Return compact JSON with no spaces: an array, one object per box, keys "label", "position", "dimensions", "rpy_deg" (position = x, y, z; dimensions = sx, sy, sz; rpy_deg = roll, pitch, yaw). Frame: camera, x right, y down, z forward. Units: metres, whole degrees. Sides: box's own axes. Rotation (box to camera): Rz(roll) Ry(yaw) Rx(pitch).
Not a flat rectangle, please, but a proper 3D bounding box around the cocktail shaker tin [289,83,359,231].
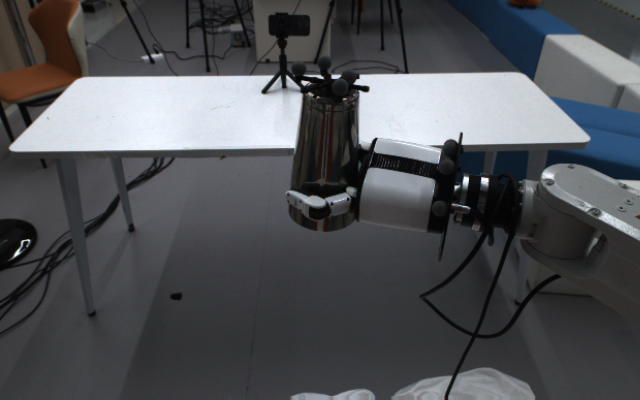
[{"label":"cocktail shaker tin","position":[0.009,-0.056,0.603],"dimensions":[0.093,0.170,0.093],"rpy_deg":[2,34,-2]}]
